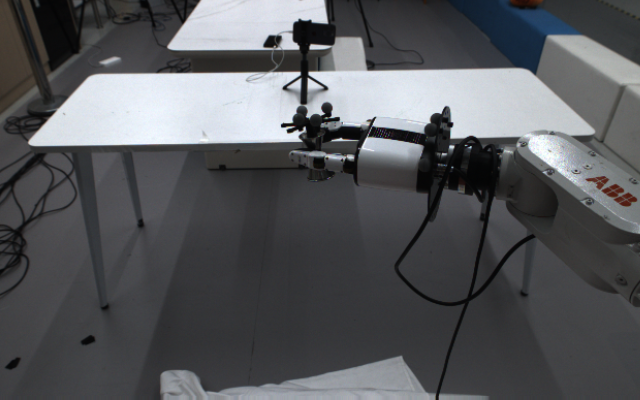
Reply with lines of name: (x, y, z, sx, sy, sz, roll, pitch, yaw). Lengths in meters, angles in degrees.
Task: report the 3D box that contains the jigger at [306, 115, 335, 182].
jigger: (-0.004, -0.068, 0.725, 0.043, 0.071, 0.043, -11, 23, 5)
